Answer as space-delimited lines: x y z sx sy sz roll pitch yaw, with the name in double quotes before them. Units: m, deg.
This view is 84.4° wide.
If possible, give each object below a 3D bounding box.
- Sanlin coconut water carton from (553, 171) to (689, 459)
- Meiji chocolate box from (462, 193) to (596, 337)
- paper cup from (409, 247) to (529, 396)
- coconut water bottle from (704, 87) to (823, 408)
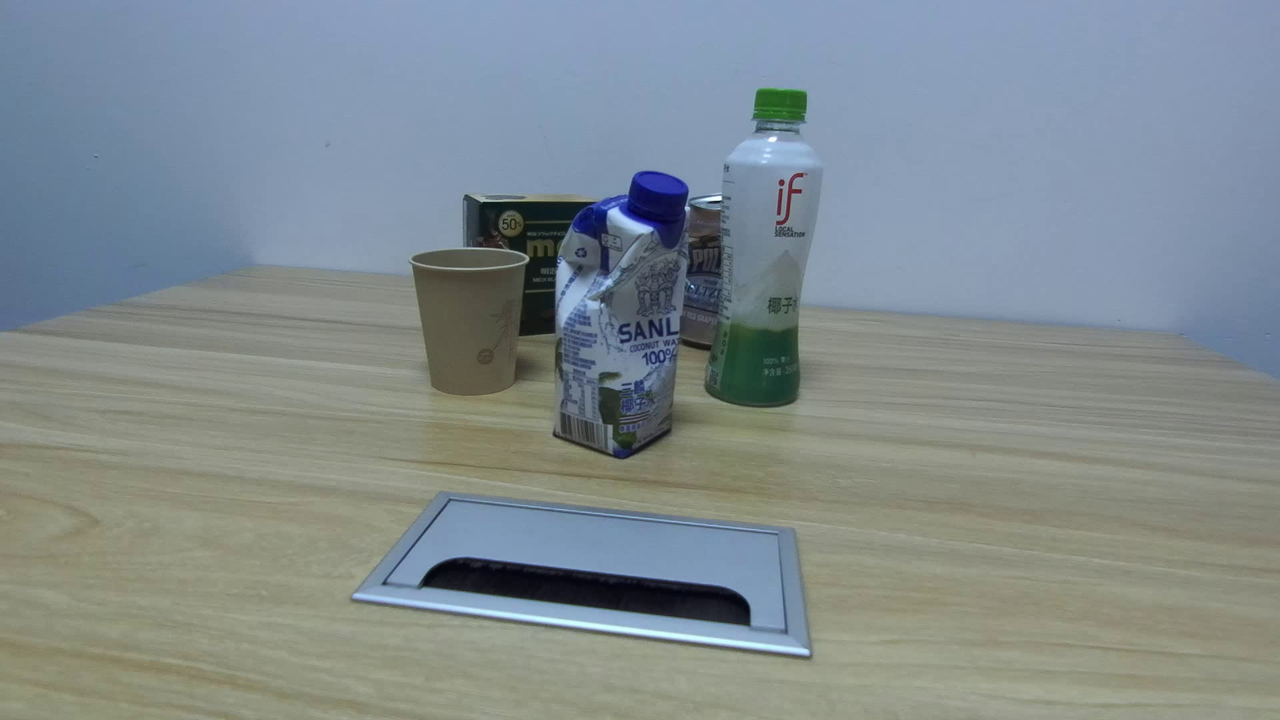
"Sanlin coconut water carton" -0.012 -0.025 0.374 0.069 0.143 0.061 15 22 31
"Meiji chocolate box" -0.066 -0.071 0.562 0.110 0.109 0.056 1 10 3
"paper cup" -0.109 -0.025 0.460 0.075 0.082 0.075 2 17 0
"coconut water bottle" 0.080 -0.068 0.444 0.063 0.188 0.063 3 15 -1
